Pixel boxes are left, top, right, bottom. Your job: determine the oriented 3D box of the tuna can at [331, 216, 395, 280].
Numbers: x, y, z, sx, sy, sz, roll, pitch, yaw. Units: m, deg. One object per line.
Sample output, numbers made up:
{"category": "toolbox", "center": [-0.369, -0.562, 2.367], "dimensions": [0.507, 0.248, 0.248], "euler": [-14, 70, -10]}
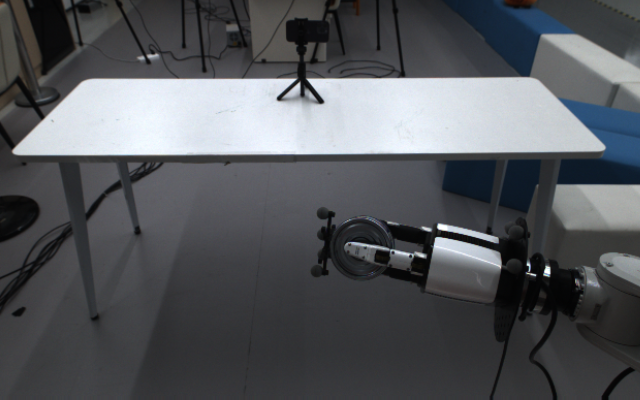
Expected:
{"category": "tuna can", "center": [0.060, 0.067, 0.648], "dimensions": [0.085, 0.085, 0.034], "euler": [10, 2, 11]}
